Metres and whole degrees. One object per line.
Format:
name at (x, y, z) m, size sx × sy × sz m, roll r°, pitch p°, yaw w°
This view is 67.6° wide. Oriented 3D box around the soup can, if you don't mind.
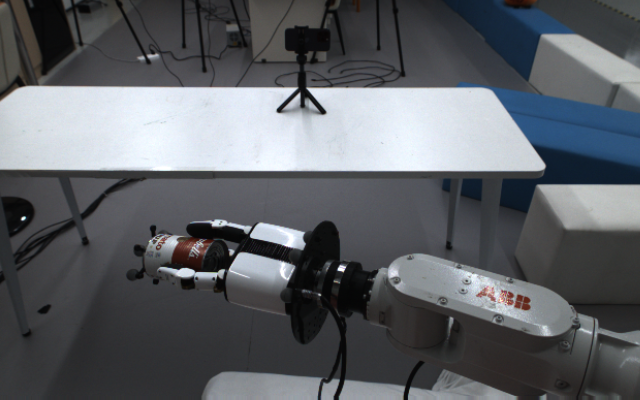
soup can at (-0.187, 0.087, 0.686) m, size 0.101 × 0.067 × 0.067 m, roll 4°, pitch 34°, yaw 20°
